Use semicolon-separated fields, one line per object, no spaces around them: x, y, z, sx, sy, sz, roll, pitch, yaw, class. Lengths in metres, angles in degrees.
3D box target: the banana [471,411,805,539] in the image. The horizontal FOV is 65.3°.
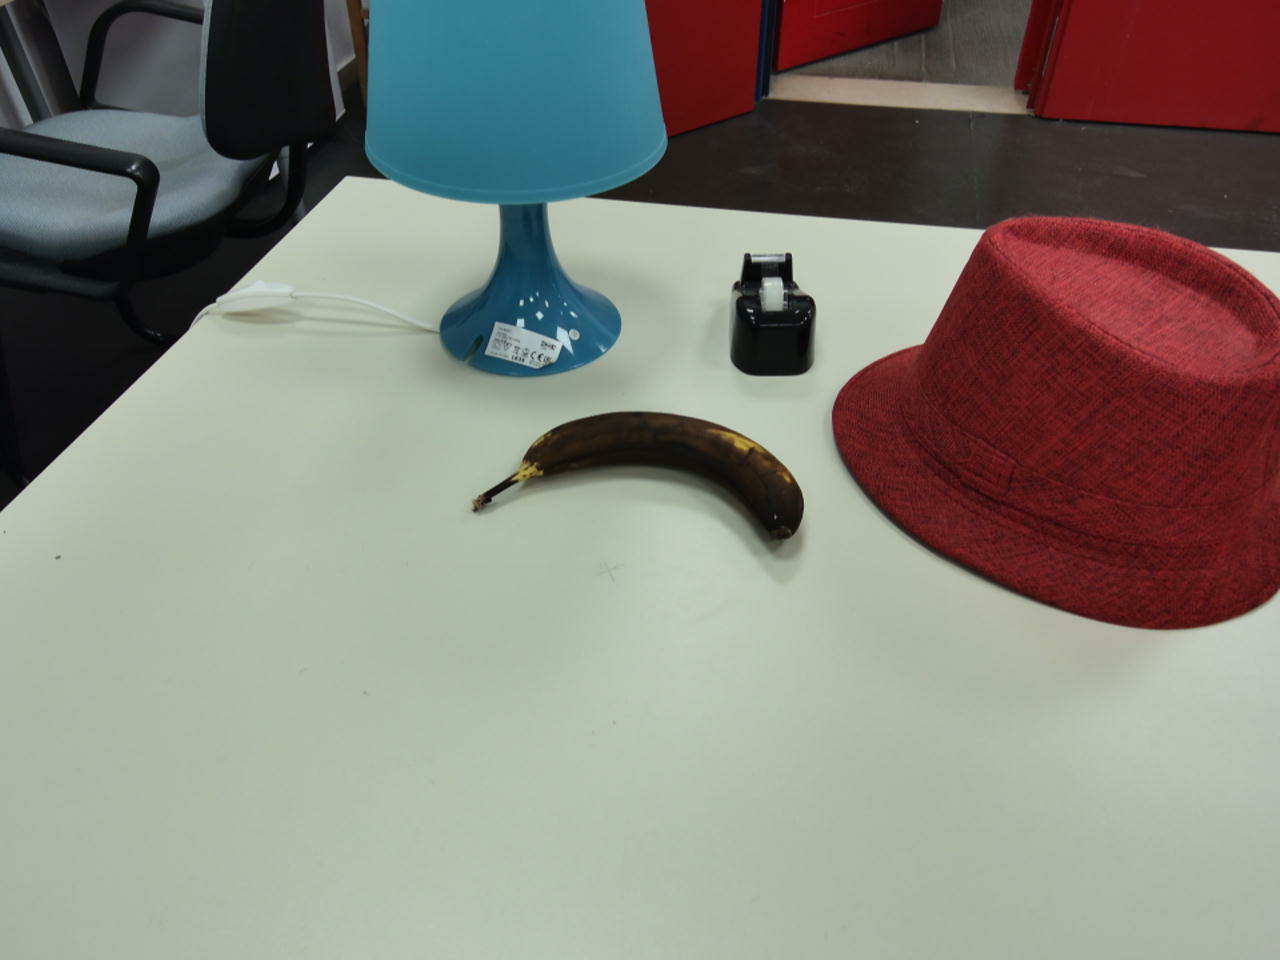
0.004;-0.009;0.585;0.188;0.034;0.091;8;40;11;banana
